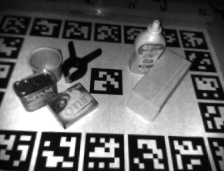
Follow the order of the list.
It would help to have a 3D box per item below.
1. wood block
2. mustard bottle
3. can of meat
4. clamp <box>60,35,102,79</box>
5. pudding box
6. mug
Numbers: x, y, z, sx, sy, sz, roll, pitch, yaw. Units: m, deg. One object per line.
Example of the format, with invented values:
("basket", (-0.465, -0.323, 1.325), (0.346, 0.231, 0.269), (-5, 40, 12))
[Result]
("wood block", (0.139, -0.008, 0.649), (0.089, 0.091, 0.207), (34, 57, 17))
("mustard bottle", (0.104, -0.127, 0.656), (0.096, 0.192, 0.058), (-2, 57, -7))
("can of meat", (-0.209, 0.007, 0.586), (0.102, 0.084, 0.057), (-24, 63, -21))
("clamp", (-0.117, -0.092, 0.703), (0.121, 0.036, 0.165), (21, 59, 4))
("pudding box", (-0.114, 0.046, 0.607), (0.115, 0.039, 0.089), (-32, 67, -26))
("mug", (-0.199, -0.066, 0.669), (0.093, 0.082, 0.117), (22, 59, 8))
